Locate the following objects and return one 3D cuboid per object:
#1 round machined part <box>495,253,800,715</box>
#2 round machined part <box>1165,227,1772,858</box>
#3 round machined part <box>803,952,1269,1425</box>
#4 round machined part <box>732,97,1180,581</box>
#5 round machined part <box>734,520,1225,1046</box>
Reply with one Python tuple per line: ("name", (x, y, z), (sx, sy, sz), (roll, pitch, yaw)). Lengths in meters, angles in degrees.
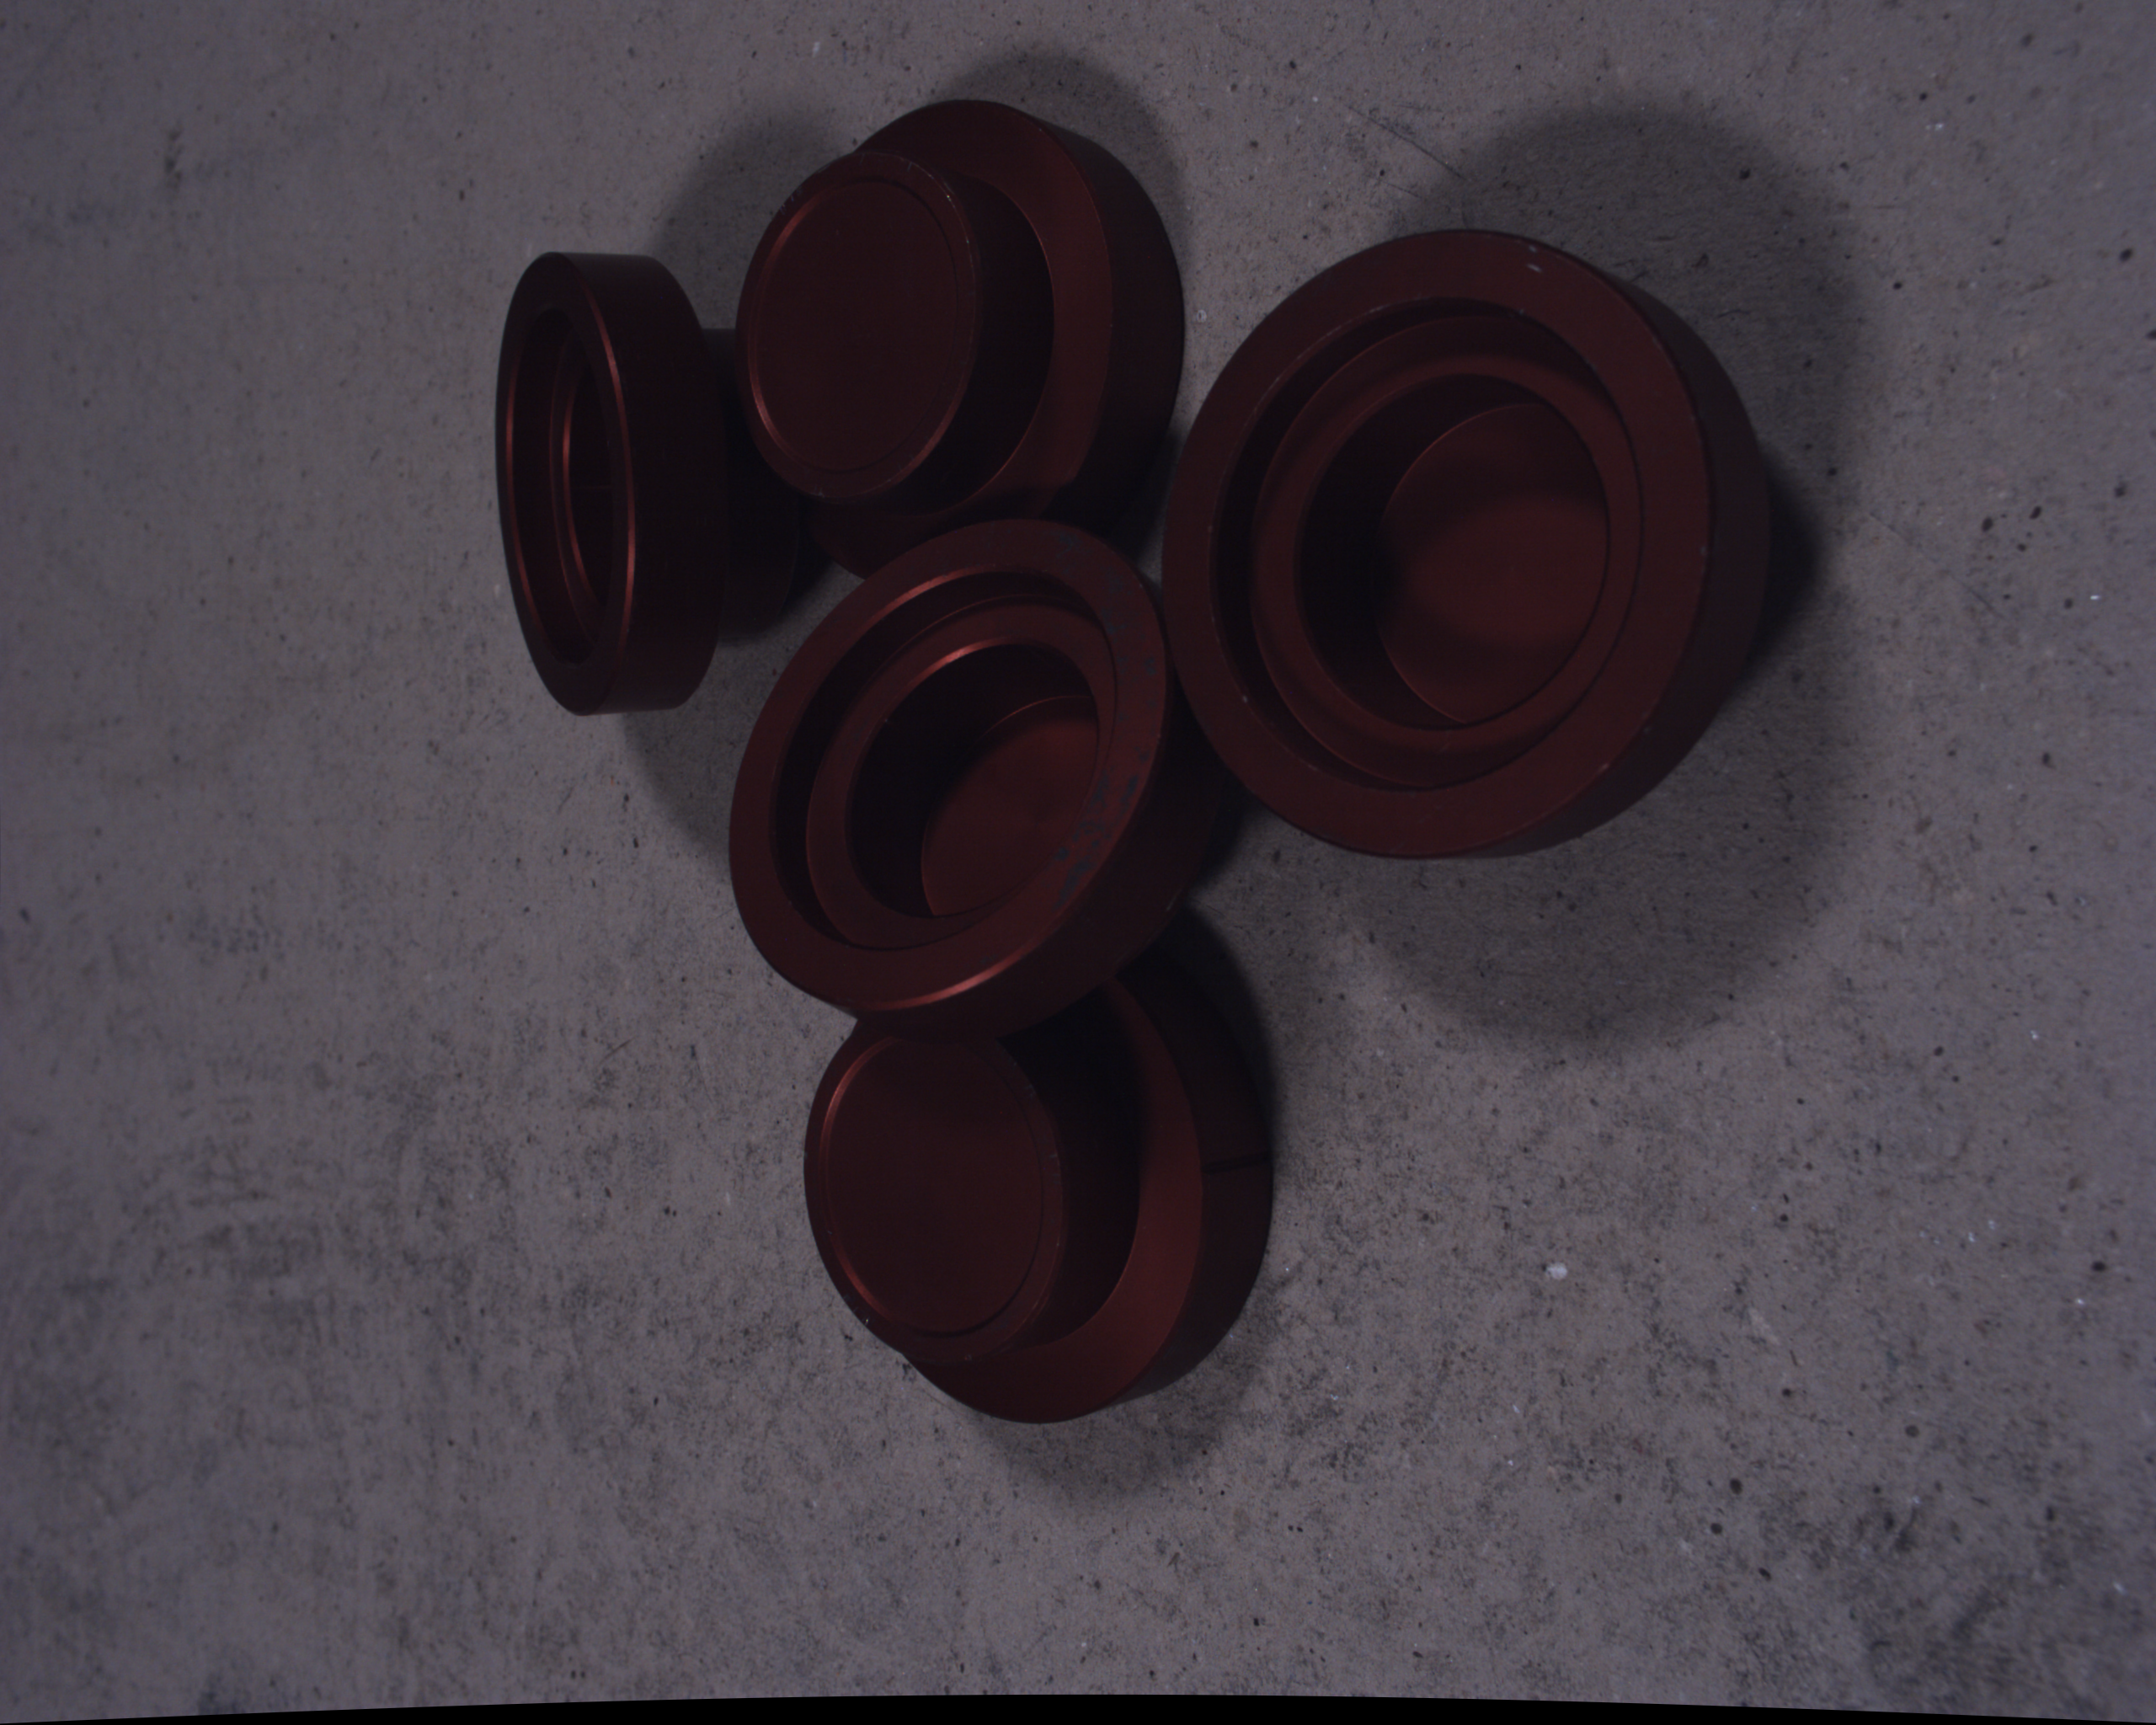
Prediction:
("round machined part", (-0.093, -0.082, 0.456), (0.098, 0.042, 0.097), (22, 116, 57))
("round machined part", (0.065, -0.049, 0.340), (0.098, 0.042, 0.097), (0, 90, 39))
("round machined part", (-0.015, 0.060, 0.405), (0.098, 0.042, 0.097), (0, 90, 39))
("round machined part", (-0.031, -0.104, 0.418), (0.098, 0.042, 0.097), (0, 90, 39))
("round machined part", (-0.014, -0.012, 0.391), (0.098, 0.042, 0.098), (-17, 58, 29))
